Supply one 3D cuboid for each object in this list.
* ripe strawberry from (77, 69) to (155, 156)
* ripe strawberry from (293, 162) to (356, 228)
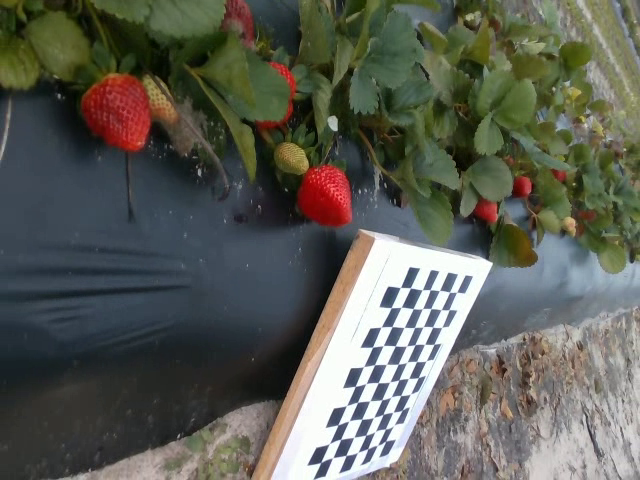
[{"bbox_3d":[-0.111,-0.073,0.339,0.043,0.051,0.041,-12,-13,-41],"label":"ripe strawberry"},{"bbox_3d":[0.009,-0.032,0.492,0.057,0.056,0.065,-22,43,-18],"label":"ripe strawberry"}]
